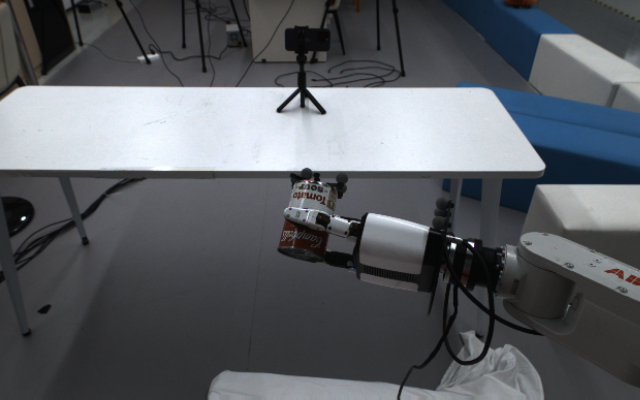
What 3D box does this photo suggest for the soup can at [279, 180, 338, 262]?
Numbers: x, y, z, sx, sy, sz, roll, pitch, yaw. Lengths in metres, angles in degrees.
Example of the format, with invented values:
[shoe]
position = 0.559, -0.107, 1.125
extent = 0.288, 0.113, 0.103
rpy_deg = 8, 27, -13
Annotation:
[soup can]
position = -0.015, 0.030, 0.687
extent = 0.067, 0.067, 0.101
rpy_deg = 9, 72, 10
